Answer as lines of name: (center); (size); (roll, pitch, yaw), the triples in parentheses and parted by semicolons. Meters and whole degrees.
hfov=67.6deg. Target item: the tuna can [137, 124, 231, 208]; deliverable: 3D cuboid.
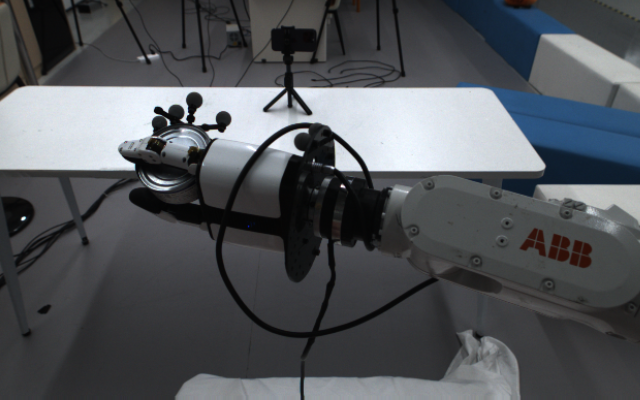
tuna can: (-0.152, -0.039, 0.525); (0.085, 0.034, 0.085); (-6, 59, 10)
